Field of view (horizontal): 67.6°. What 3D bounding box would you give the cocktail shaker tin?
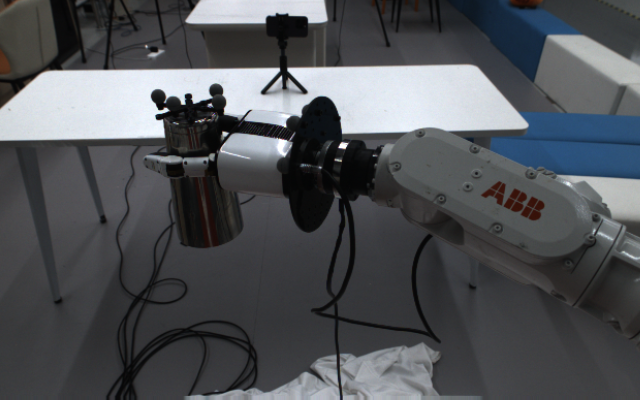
[{"bbox_3d":[-0.152,-0.035,0.634,0.093,0.170,0.093,-1,33,1],"label":"cocktail shaker tin"}]
